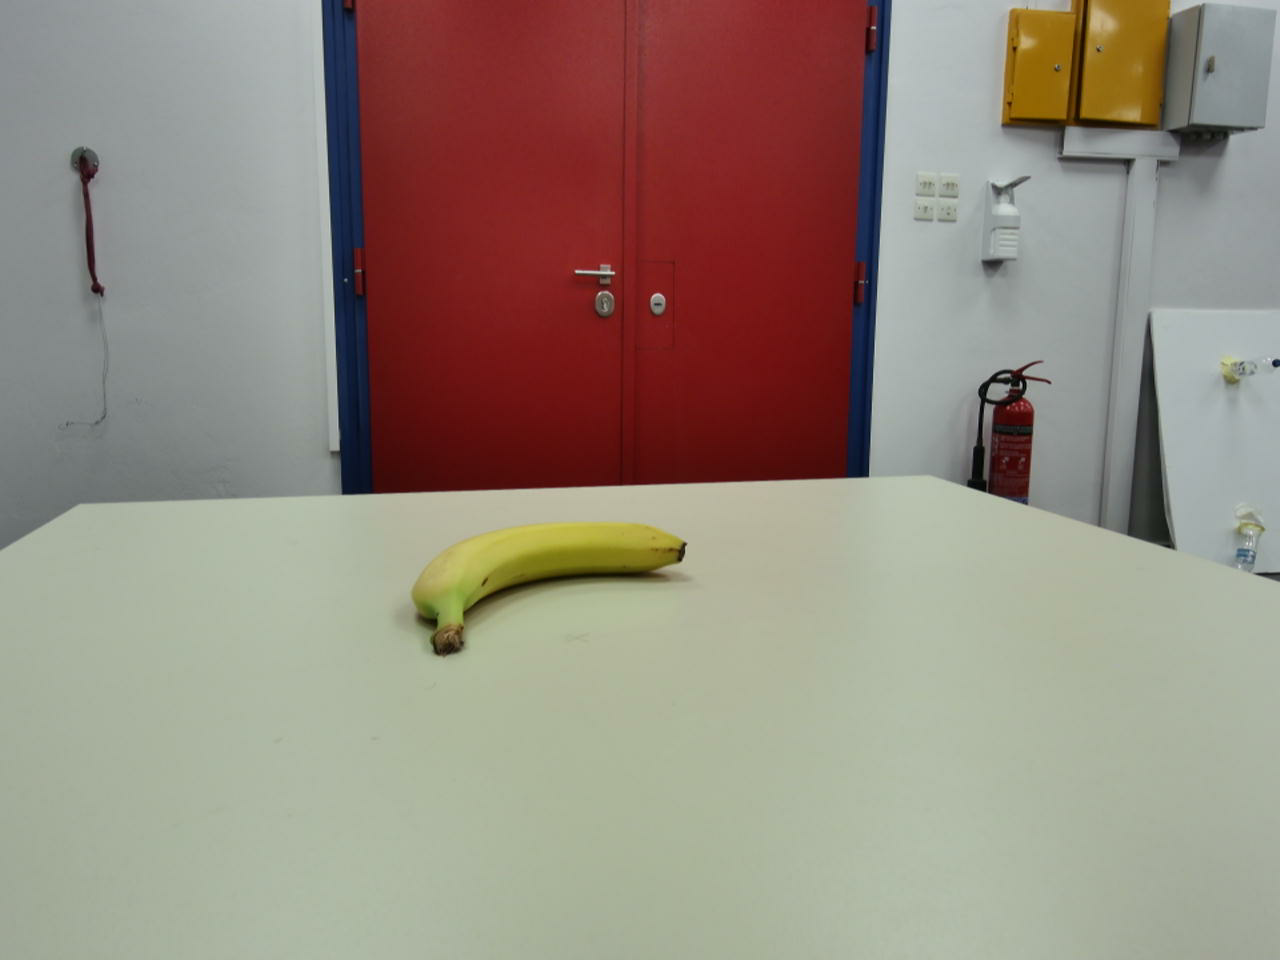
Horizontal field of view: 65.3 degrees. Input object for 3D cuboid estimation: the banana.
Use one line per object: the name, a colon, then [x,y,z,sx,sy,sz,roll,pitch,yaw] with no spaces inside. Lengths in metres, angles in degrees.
banana: [-0.065,0.052,0.584,0.094,0.041,0.196,7,10,41]
